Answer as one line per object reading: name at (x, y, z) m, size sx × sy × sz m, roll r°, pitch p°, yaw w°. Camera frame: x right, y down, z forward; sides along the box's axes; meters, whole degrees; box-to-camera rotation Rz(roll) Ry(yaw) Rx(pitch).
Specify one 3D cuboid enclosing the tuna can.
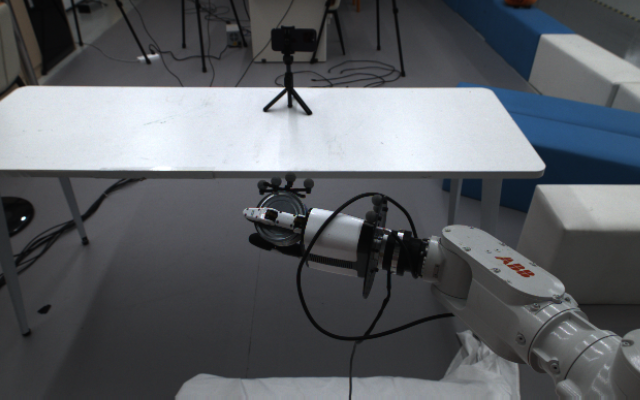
tuna can at (-0.060, 0.032, 0.774) m, size 0.085 × 0.034 × 0.085 m, roll -5°, pitch 72°, yaw 14°
